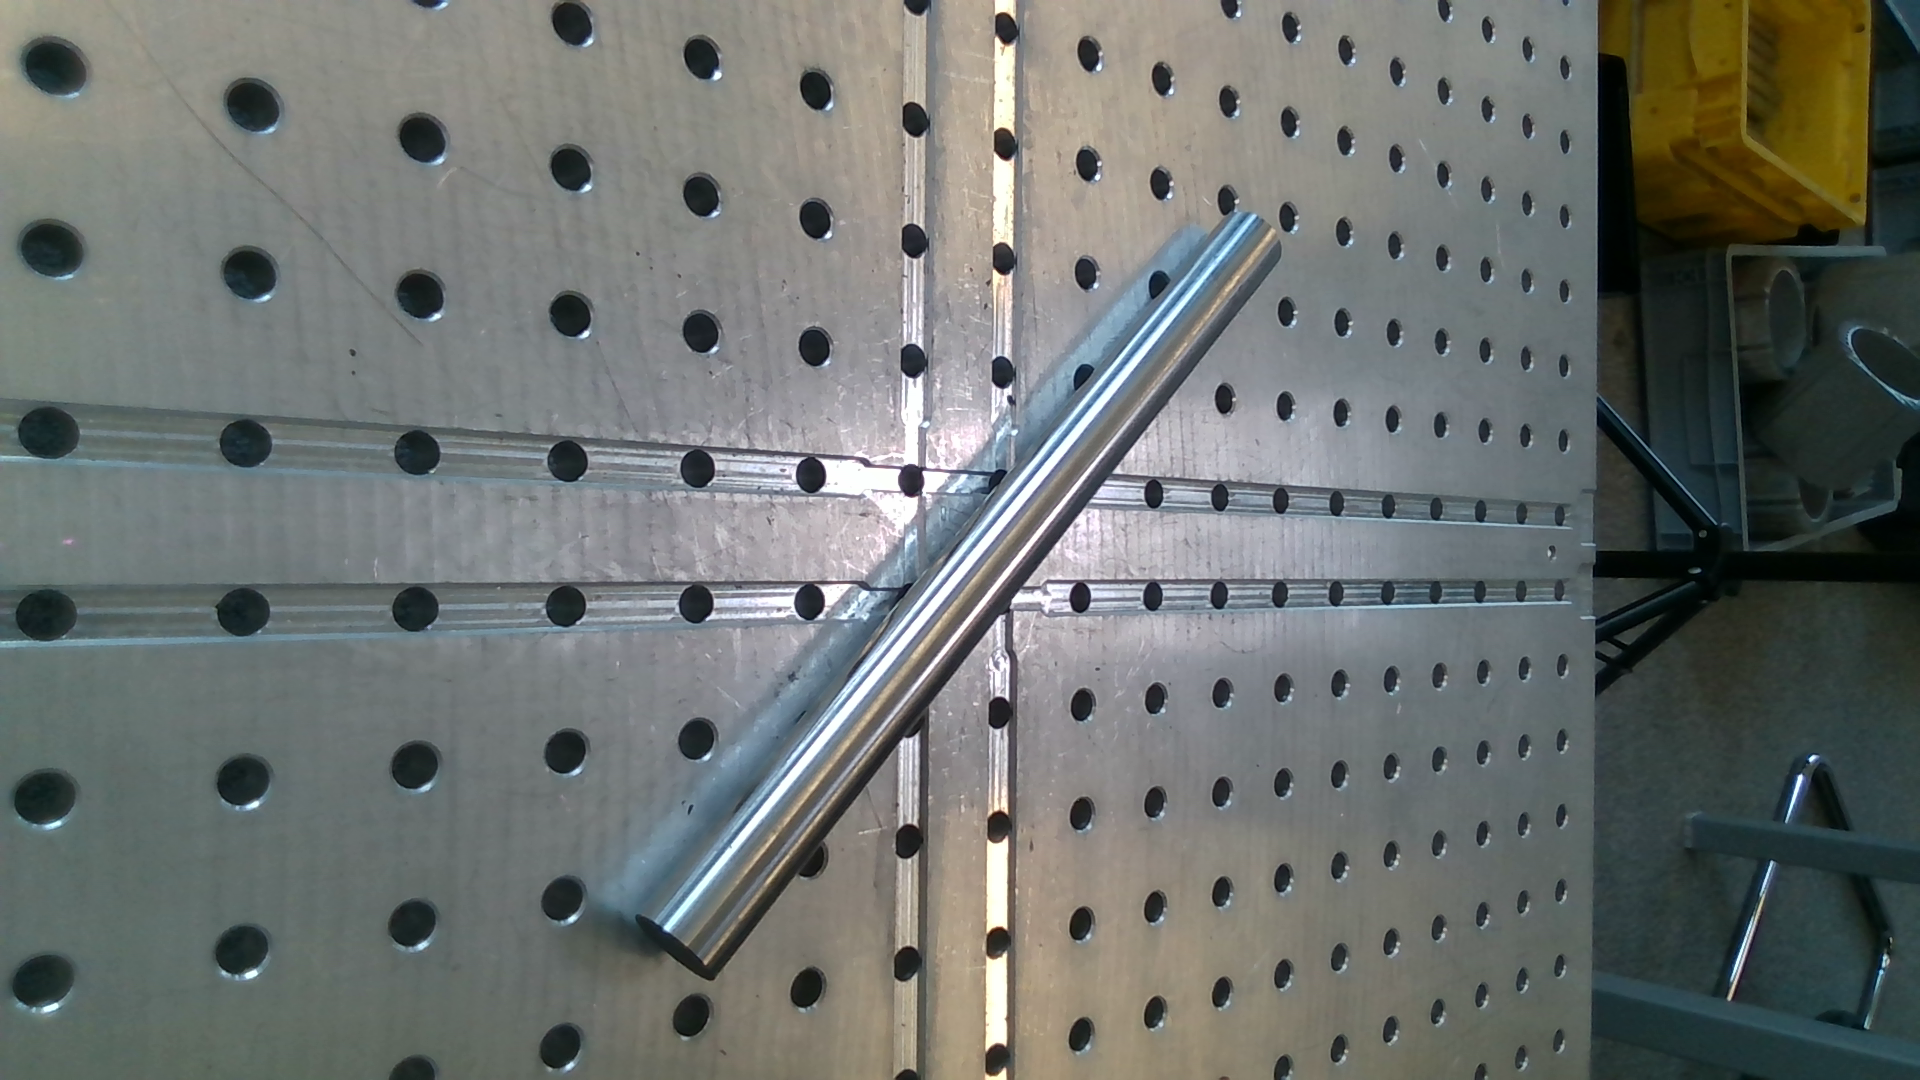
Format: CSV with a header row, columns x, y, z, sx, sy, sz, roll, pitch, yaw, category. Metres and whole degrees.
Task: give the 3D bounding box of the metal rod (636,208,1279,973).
x,y,z,sx,sy,sz,roll,pitch,yaw,category
0.015,-0.003,0.407,0.299,0.025,0.025,-50,120,-28,metal rod
